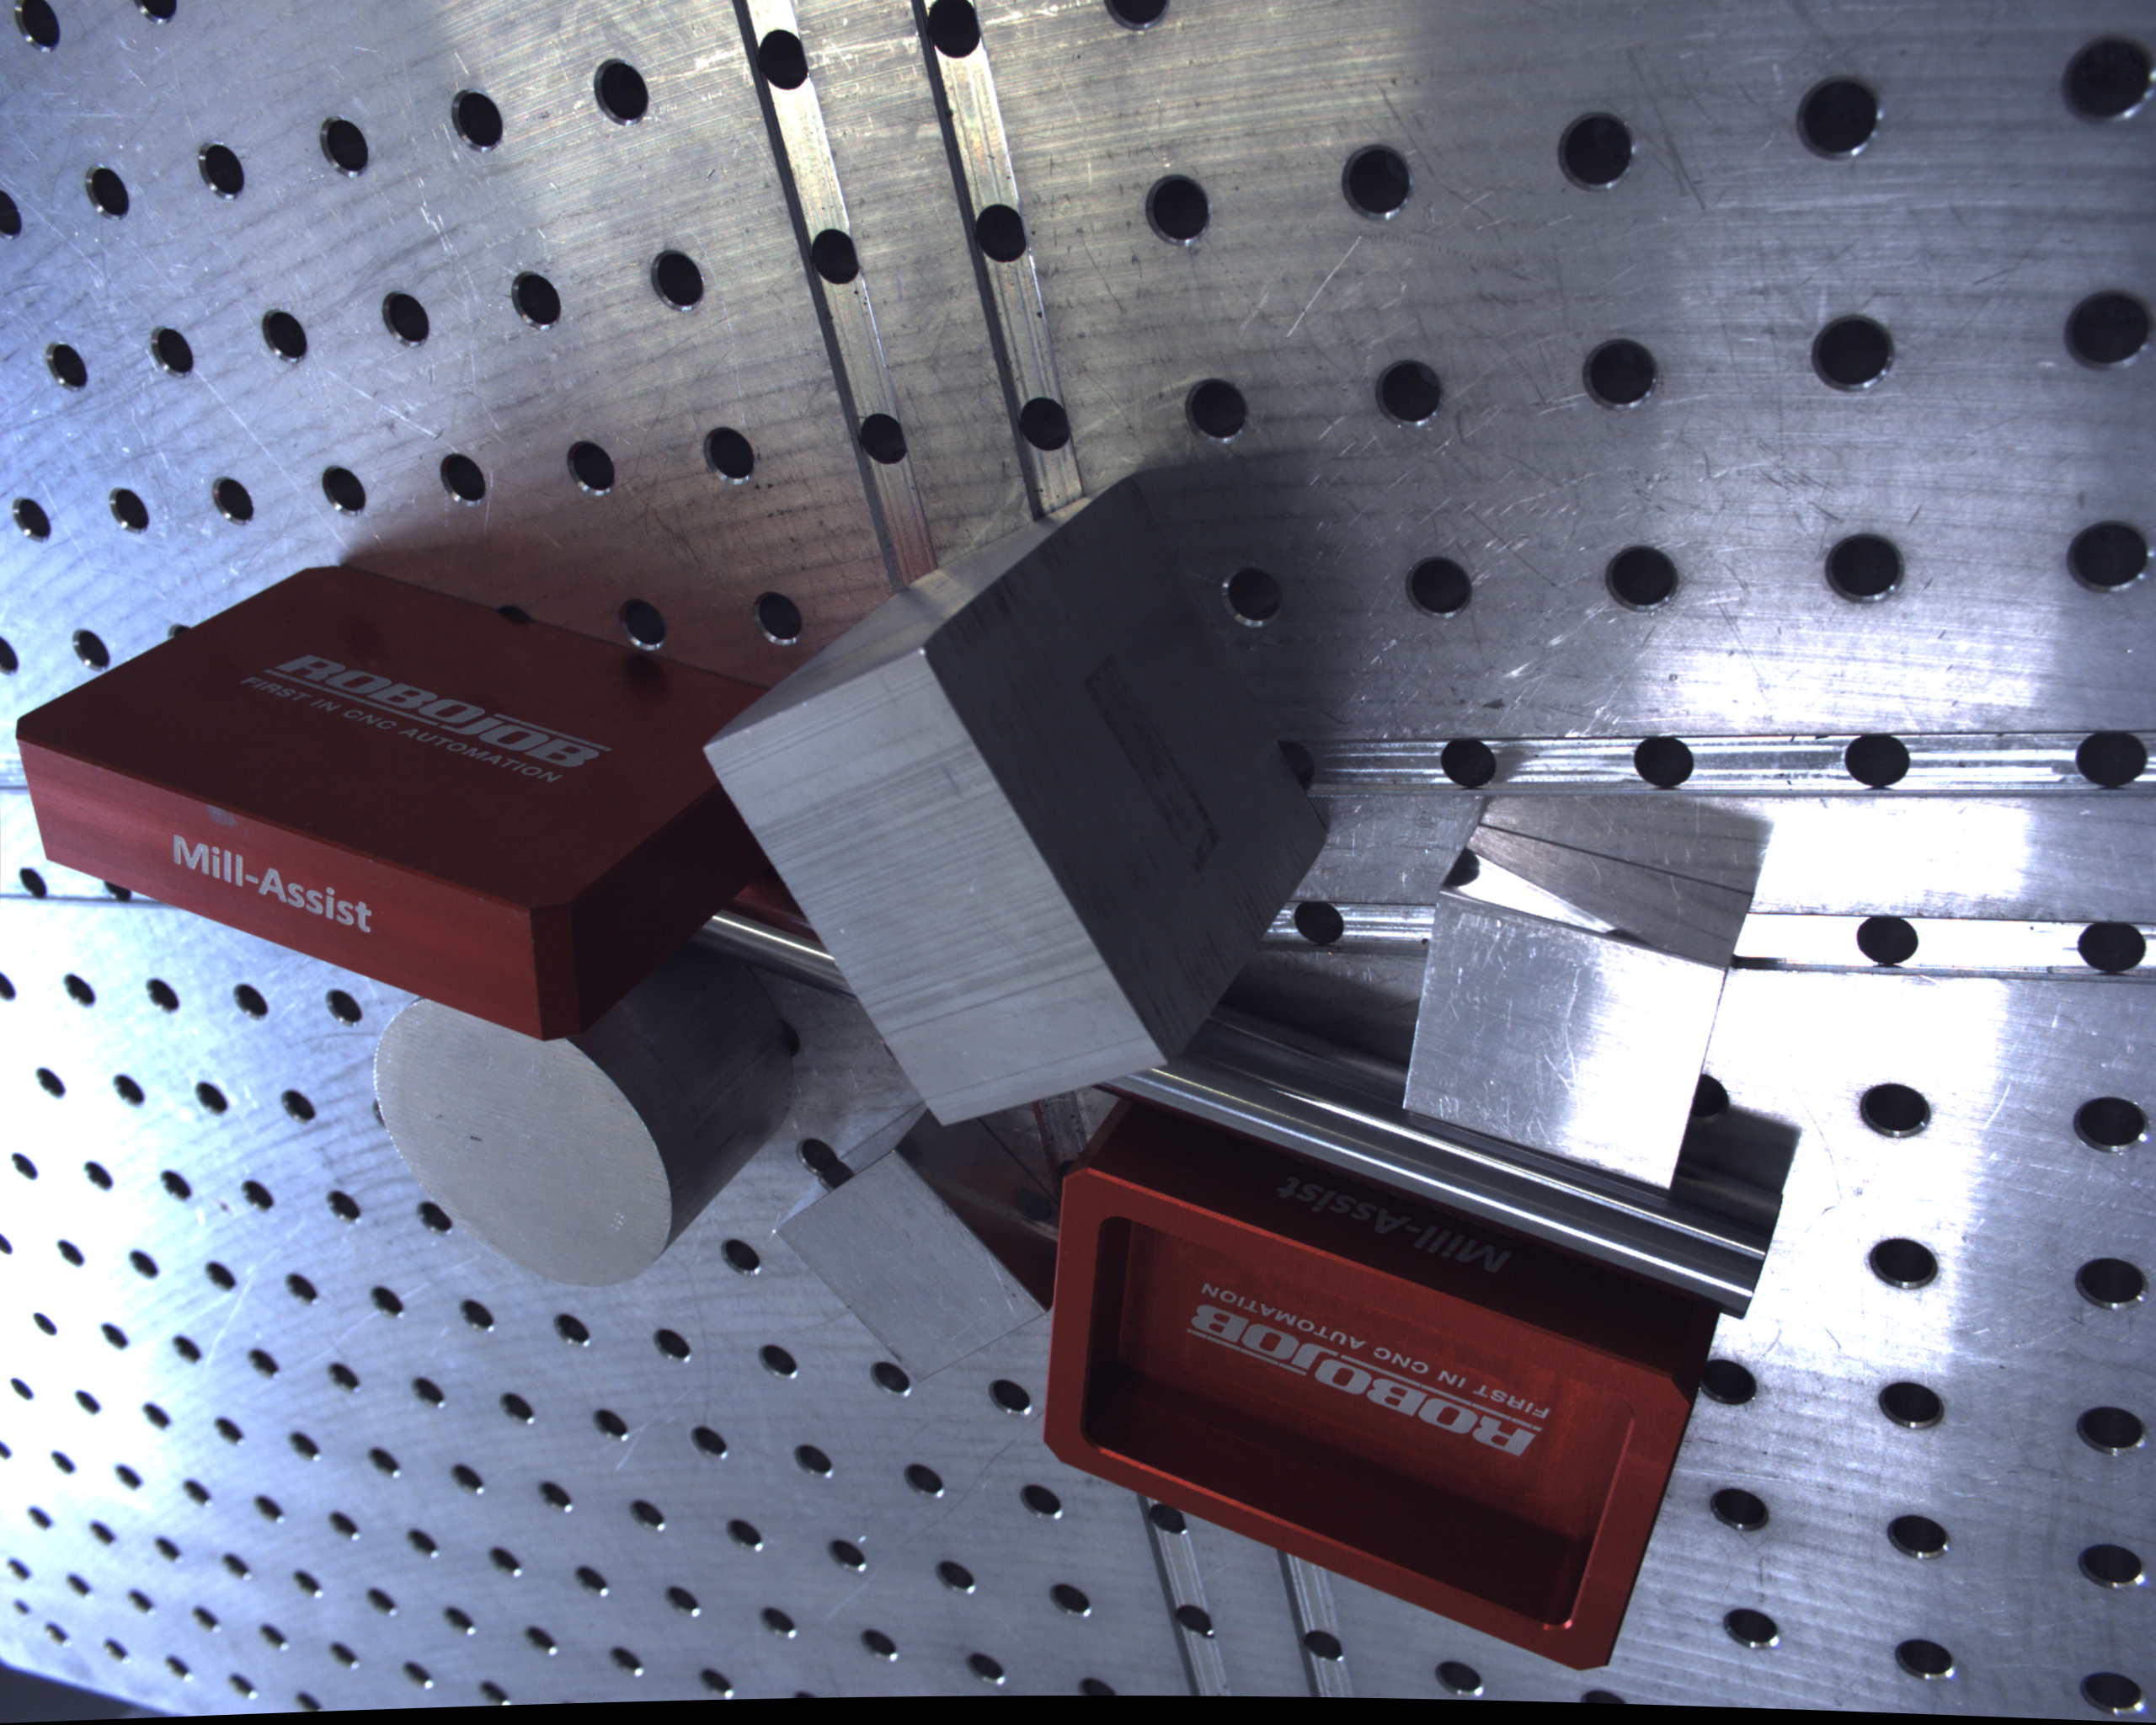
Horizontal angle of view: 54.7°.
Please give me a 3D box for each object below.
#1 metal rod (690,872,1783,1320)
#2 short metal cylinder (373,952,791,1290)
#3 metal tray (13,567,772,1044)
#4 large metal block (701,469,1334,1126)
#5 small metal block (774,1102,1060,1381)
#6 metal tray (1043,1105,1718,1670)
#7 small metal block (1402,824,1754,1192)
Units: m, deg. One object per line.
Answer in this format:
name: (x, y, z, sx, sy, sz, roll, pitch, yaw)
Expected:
metal rod: (-0.009, 0.029, 0.434, 0.301, 0.025, 0.025, 18, 126, 17)
short metal cylinder: (-0.115, 0.052, 0.487, 0.080, 0.050, 0.079, 13, 124, 21)
metal tray: (-0.134, -0.017, 0.428, 0.130, 0.090, 0.030, 17, 125, 18)
large metal block: (-0.007, -0.013, 0.373, 0.050, 0.080, 0.080, -20, 108, 36)
small metal block: (-0.033, 0.086, 0.483, 0.050, 0.025, 0.050, 48, 129, -6)
metal tray: (0.060, 0.109, 0.443, 0.130, 0.030, 0.089, 17, 126, 18)
small metal block: (0.090, 0.026, 0.380, 0.050, 0.025, 0.050, 16, 125, 19)
